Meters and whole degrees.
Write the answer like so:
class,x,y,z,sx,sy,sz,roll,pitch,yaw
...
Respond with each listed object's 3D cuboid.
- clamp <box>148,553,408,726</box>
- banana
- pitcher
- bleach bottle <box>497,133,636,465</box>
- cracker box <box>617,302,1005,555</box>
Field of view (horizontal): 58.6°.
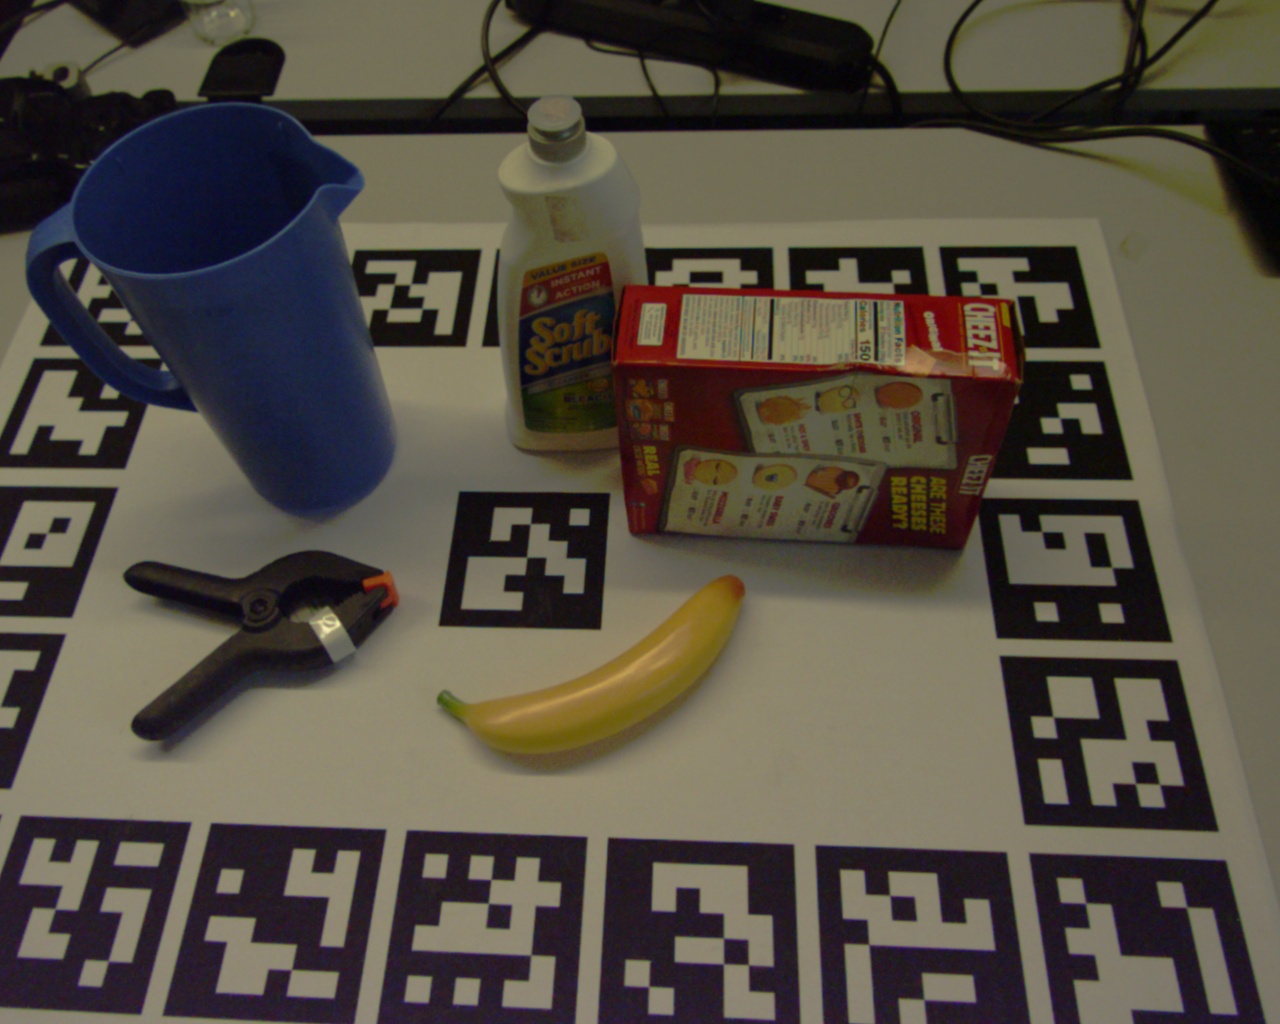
class,x,y,z,sx,sy,sz,roll,pitch,yaw
clamp,-0.234,0.068,0.740,0.164,0.036,0.123,-12,54,-6
banana,-0.015,0.096,0.713,0.196,0.038,0.075,-28,57,-14
pitcher,-0.243,-0.112,0.715,0.188,0.241,0.134,-13,55,-9
bleach bottle,-0.054,-0.131,0.737,0.103,0.249,0.068,1,54,4
cracker box,0.098,-0.050,0.704,0.214,0.163,0.072,2,52,7
